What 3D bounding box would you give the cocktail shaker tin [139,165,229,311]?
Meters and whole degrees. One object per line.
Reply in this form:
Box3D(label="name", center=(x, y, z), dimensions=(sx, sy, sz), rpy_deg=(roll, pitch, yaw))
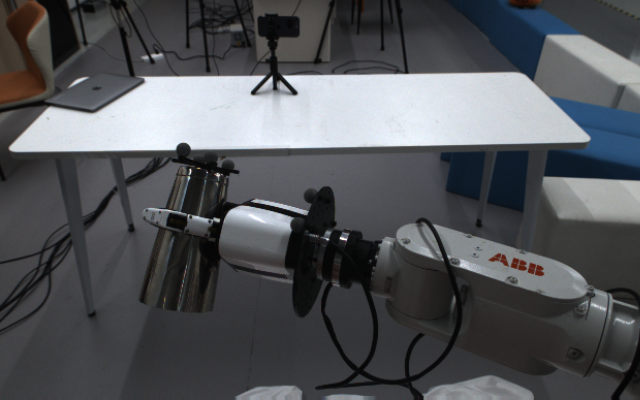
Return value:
Box3D(label="cocktail shaker tin", center=(-0.163, 0.049, 0.612), dimensions=(0.093, 0.170, 0.093), rpy_deg=(10, -5, 1))
